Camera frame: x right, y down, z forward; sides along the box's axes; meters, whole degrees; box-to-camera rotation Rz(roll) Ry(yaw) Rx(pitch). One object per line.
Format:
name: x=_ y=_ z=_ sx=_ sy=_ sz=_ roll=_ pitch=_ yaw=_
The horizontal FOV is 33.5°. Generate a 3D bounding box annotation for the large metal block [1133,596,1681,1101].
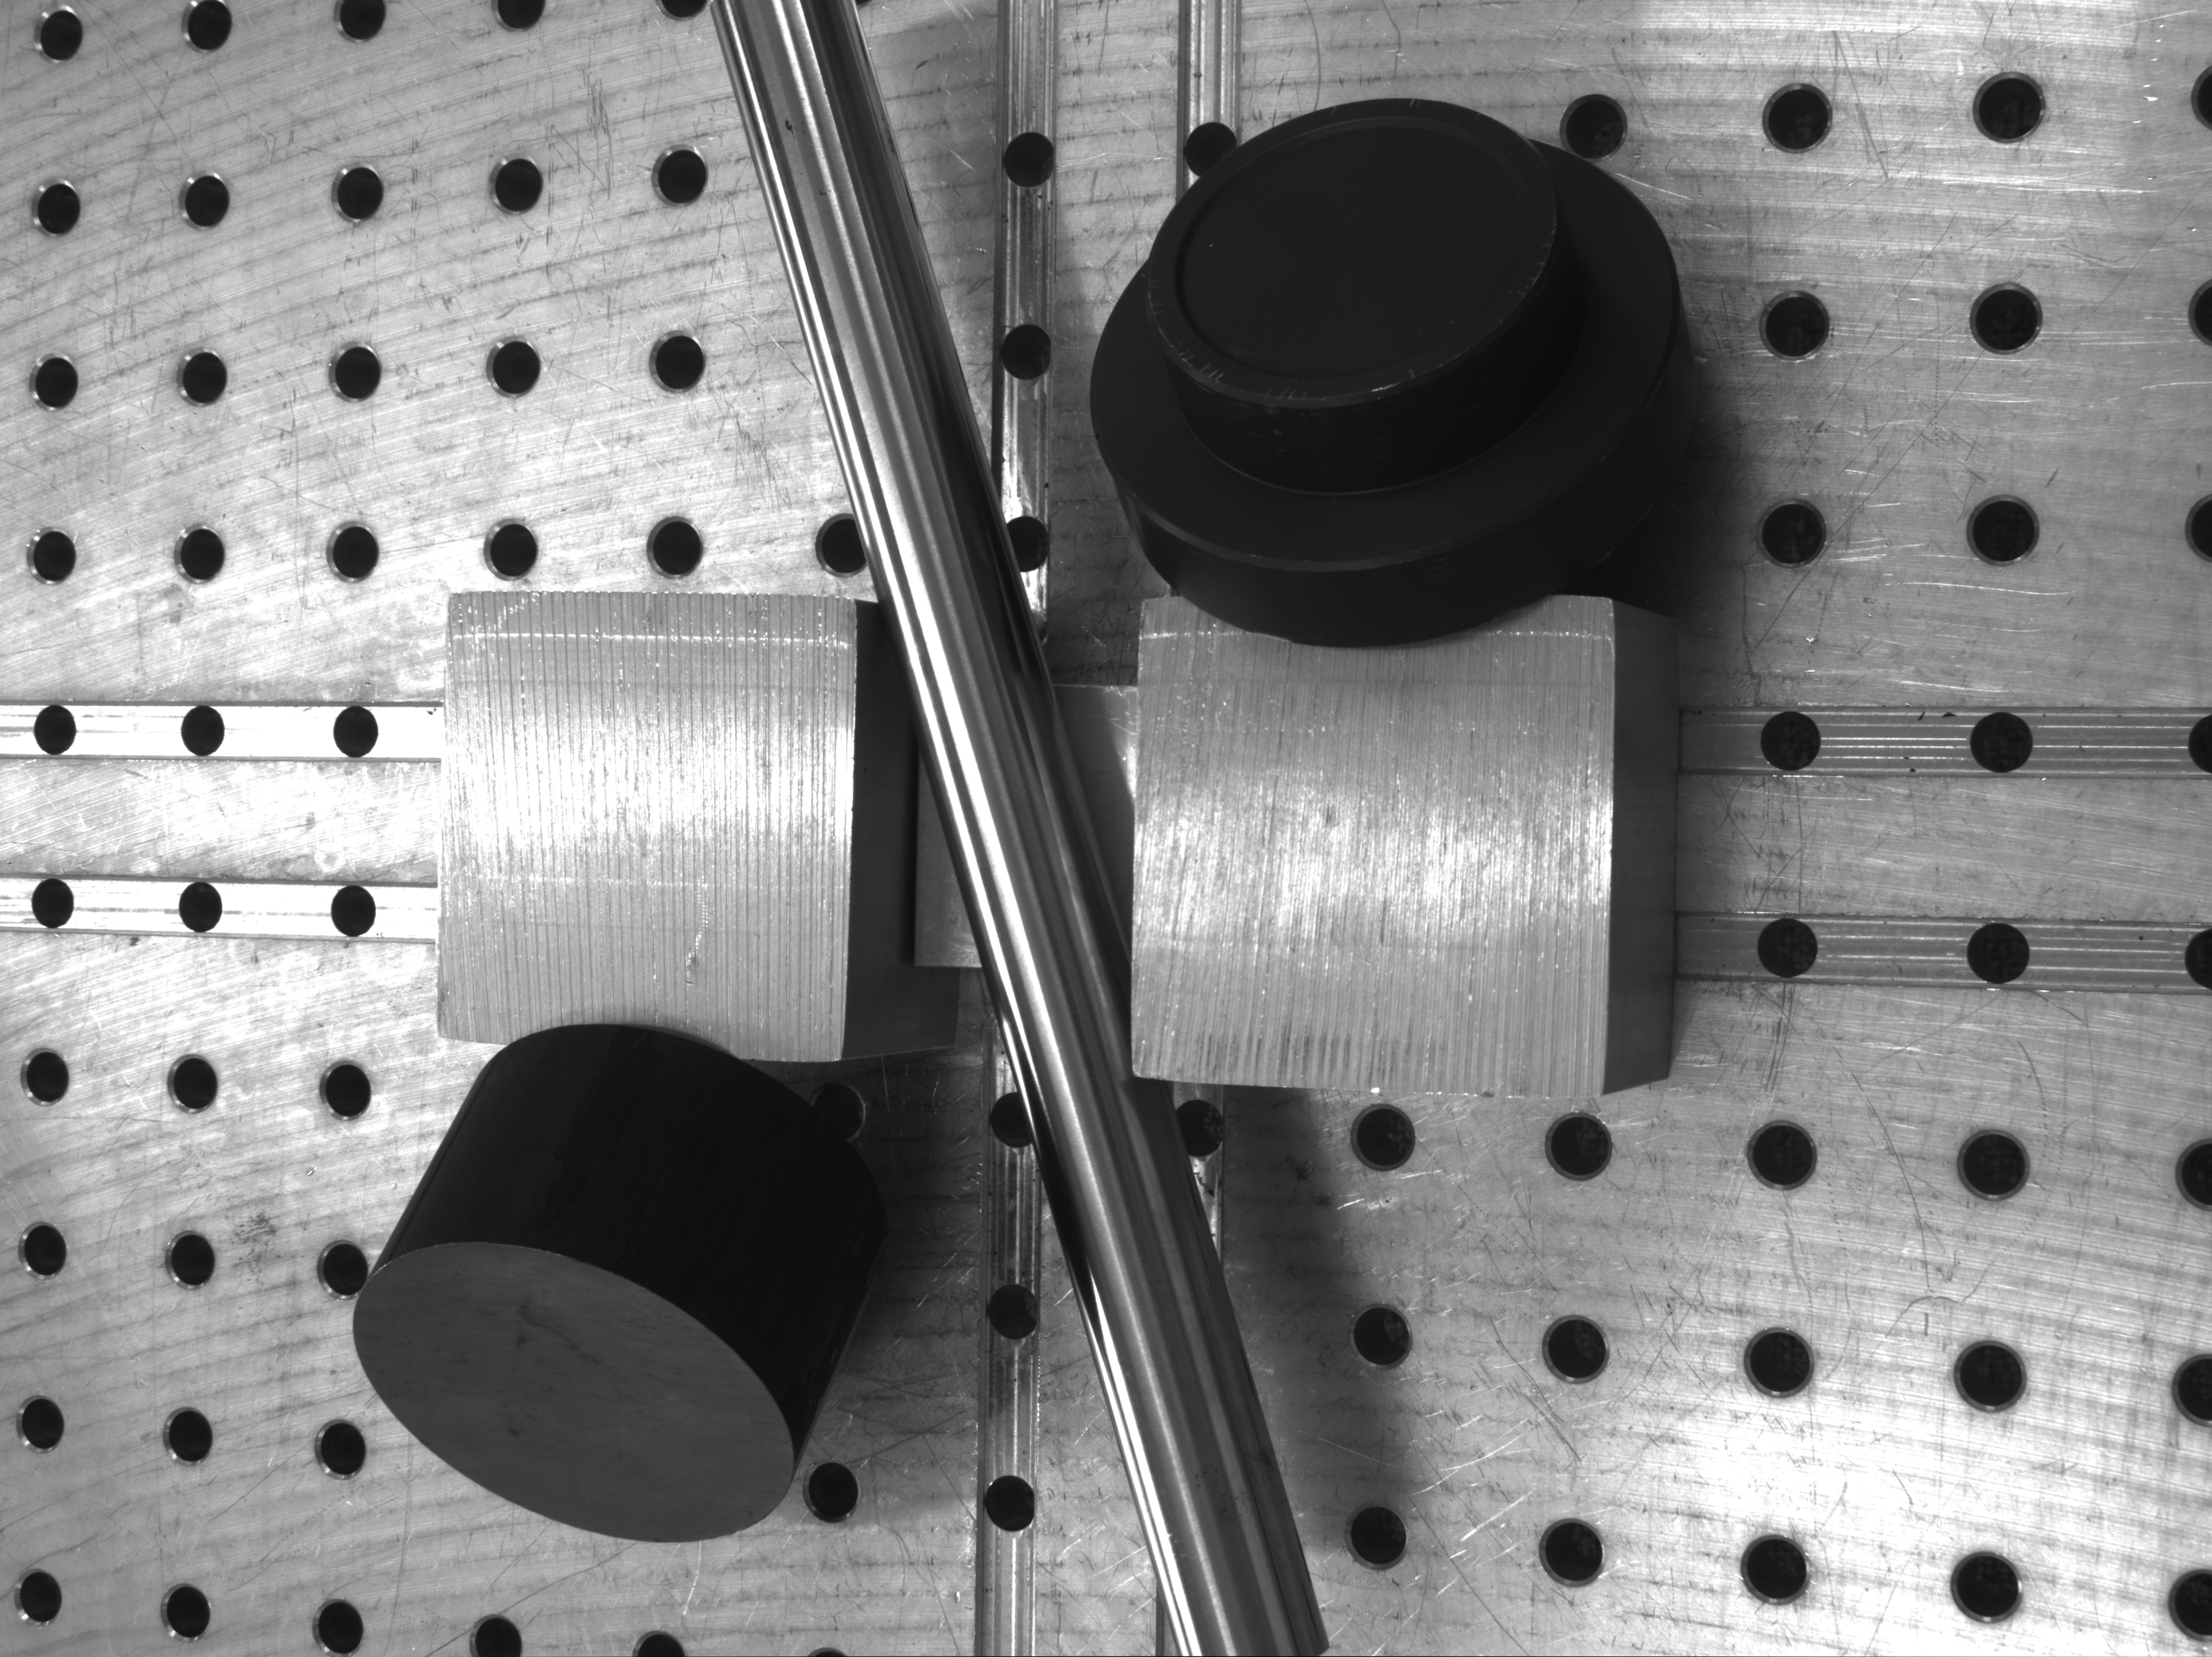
large metal block: x=0.051 y=0.003 z=0.618 sx=0.080 sy=0.050 sz=0.080 roll=1 pitch=90 yaw=20

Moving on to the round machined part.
round machined part: x=0.044 y=-0.080 z=0.598 sx=0.098 sy=0.042 sz=0.098 roll=-10 pitch=52 yaw=13

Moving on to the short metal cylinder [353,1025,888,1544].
short metal cylinder: x=-0.084 y=0.080 z=0.644 sx=0.080 sy=0.050 sz=0.080 roll=11 pitch=136 yaw=11

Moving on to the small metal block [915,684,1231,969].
small metal block: x=-0.006 y=0.000 z=0.652 sx=0.050 sy=0.025 sz=0.050 roll=1 pitch=90 yaw=20

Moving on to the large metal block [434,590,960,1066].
large metal block: x=-0.072 y=-0.001 z=0.663 sx=0.080 sy=0.050 sz=0.080 roll=2 pitch=91 yaw=20

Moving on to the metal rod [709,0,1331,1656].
metal rod: x=-0.016 y=-0.003 z=0.627 sx=0.025 sy=0.025 sz=0.300 roll=-18 pitch=84 yaw=19
